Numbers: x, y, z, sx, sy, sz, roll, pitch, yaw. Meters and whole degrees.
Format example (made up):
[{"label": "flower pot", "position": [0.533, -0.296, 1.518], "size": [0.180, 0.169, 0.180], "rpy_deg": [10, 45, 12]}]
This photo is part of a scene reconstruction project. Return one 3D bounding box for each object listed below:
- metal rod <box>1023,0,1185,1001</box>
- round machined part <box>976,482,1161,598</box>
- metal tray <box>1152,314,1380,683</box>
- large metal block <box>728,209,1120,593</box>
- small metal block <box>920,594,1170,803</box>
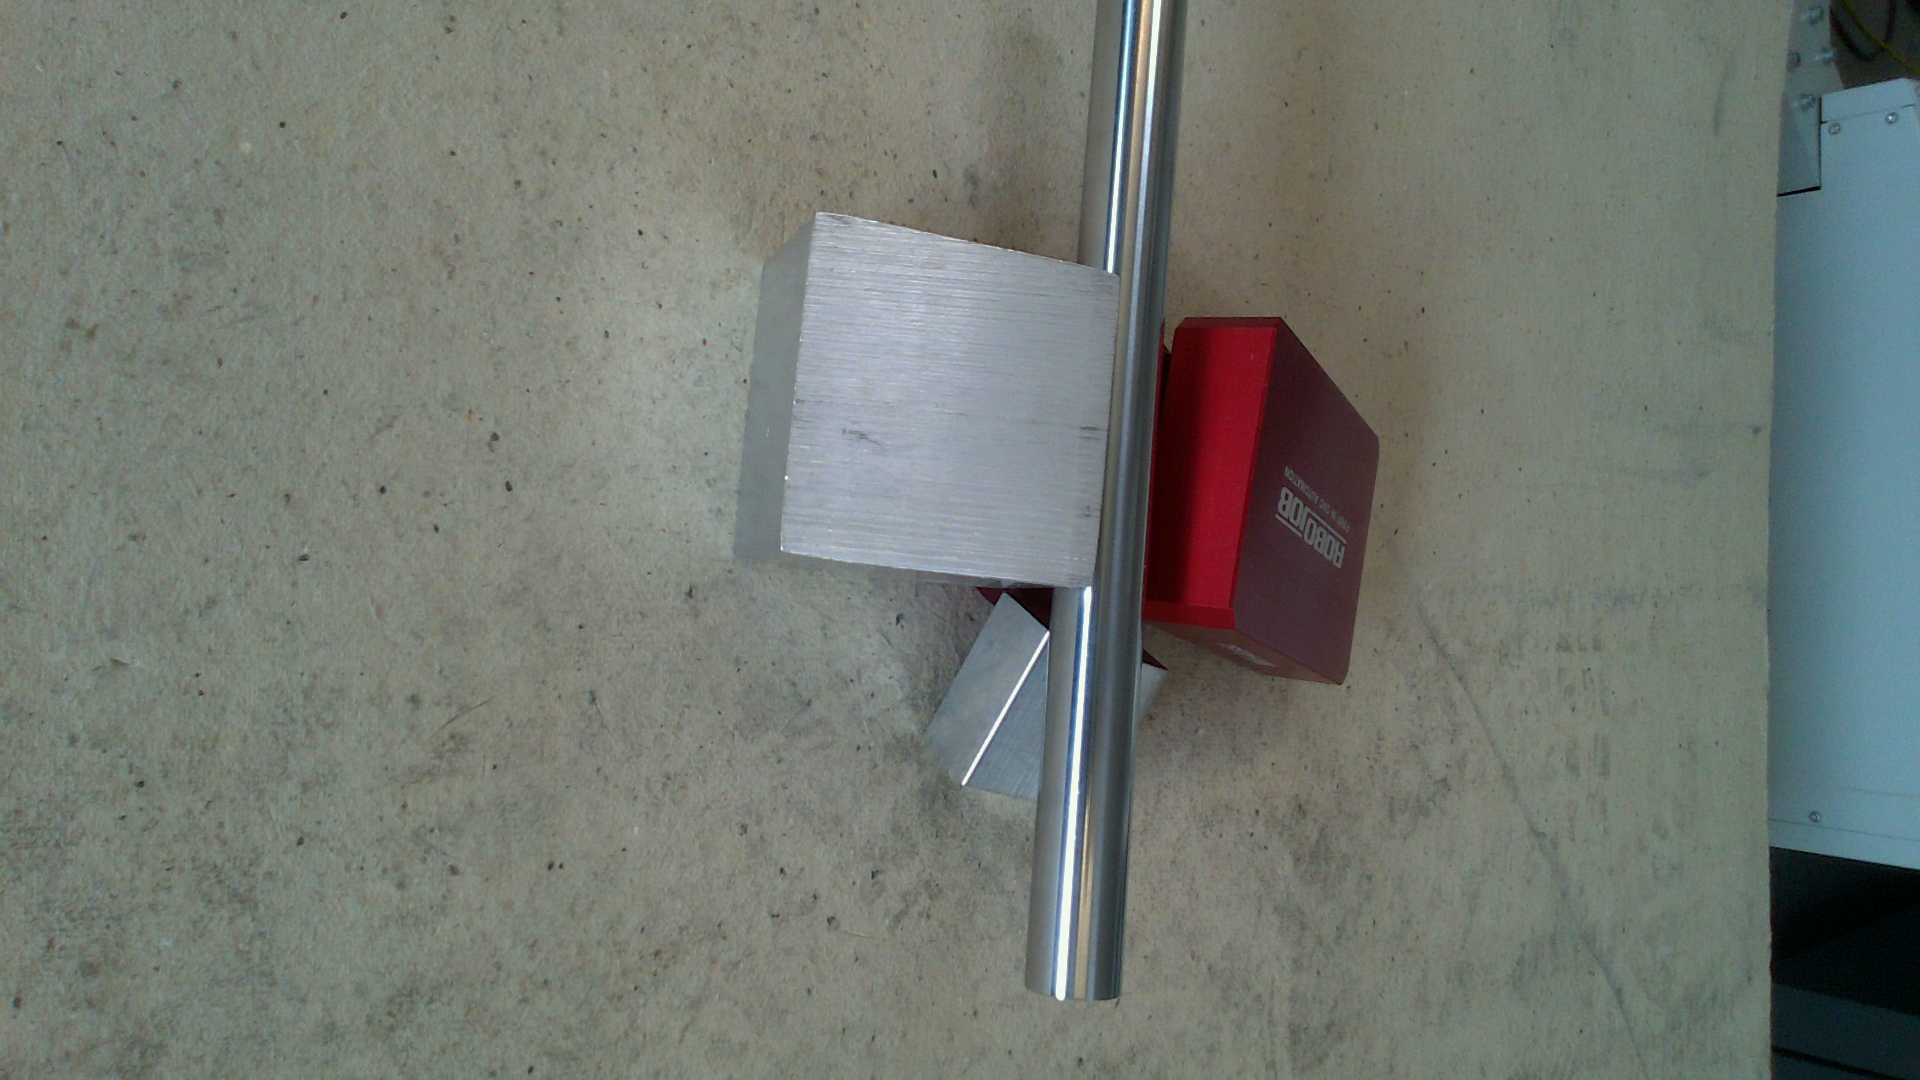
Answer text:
[{"label": "metal rod", "position": [0.041, -0.034, 0.368], "size": [0.025, 0.025, 0.300], "rpy_deg": [10, 82, -39]}, {"label": "round machined part", "position": [0.043, -0.022, 0.413], "size": [0.098, 0.042, 0.098], "rpy_deg": [0, 90, -40]}, {"label": "metal tray", "position": [0.099, -0.008, 0.439], "size": [0.130, 0.030, 0.090], "rpy_deg": [24, 75, -58]}, {"label": "large metal block", "position": [-0.010, -0.031, 0.350], "size": [0.080, 0.050, 0.080], "rpy_deg": [7, 85, -21]}, {"label": "small metal block", "position": [0.025, 0.048, 0.397], "size": [0.050, 0.025, 0.050], "rpy_deg": [20, 103, -37]}]
